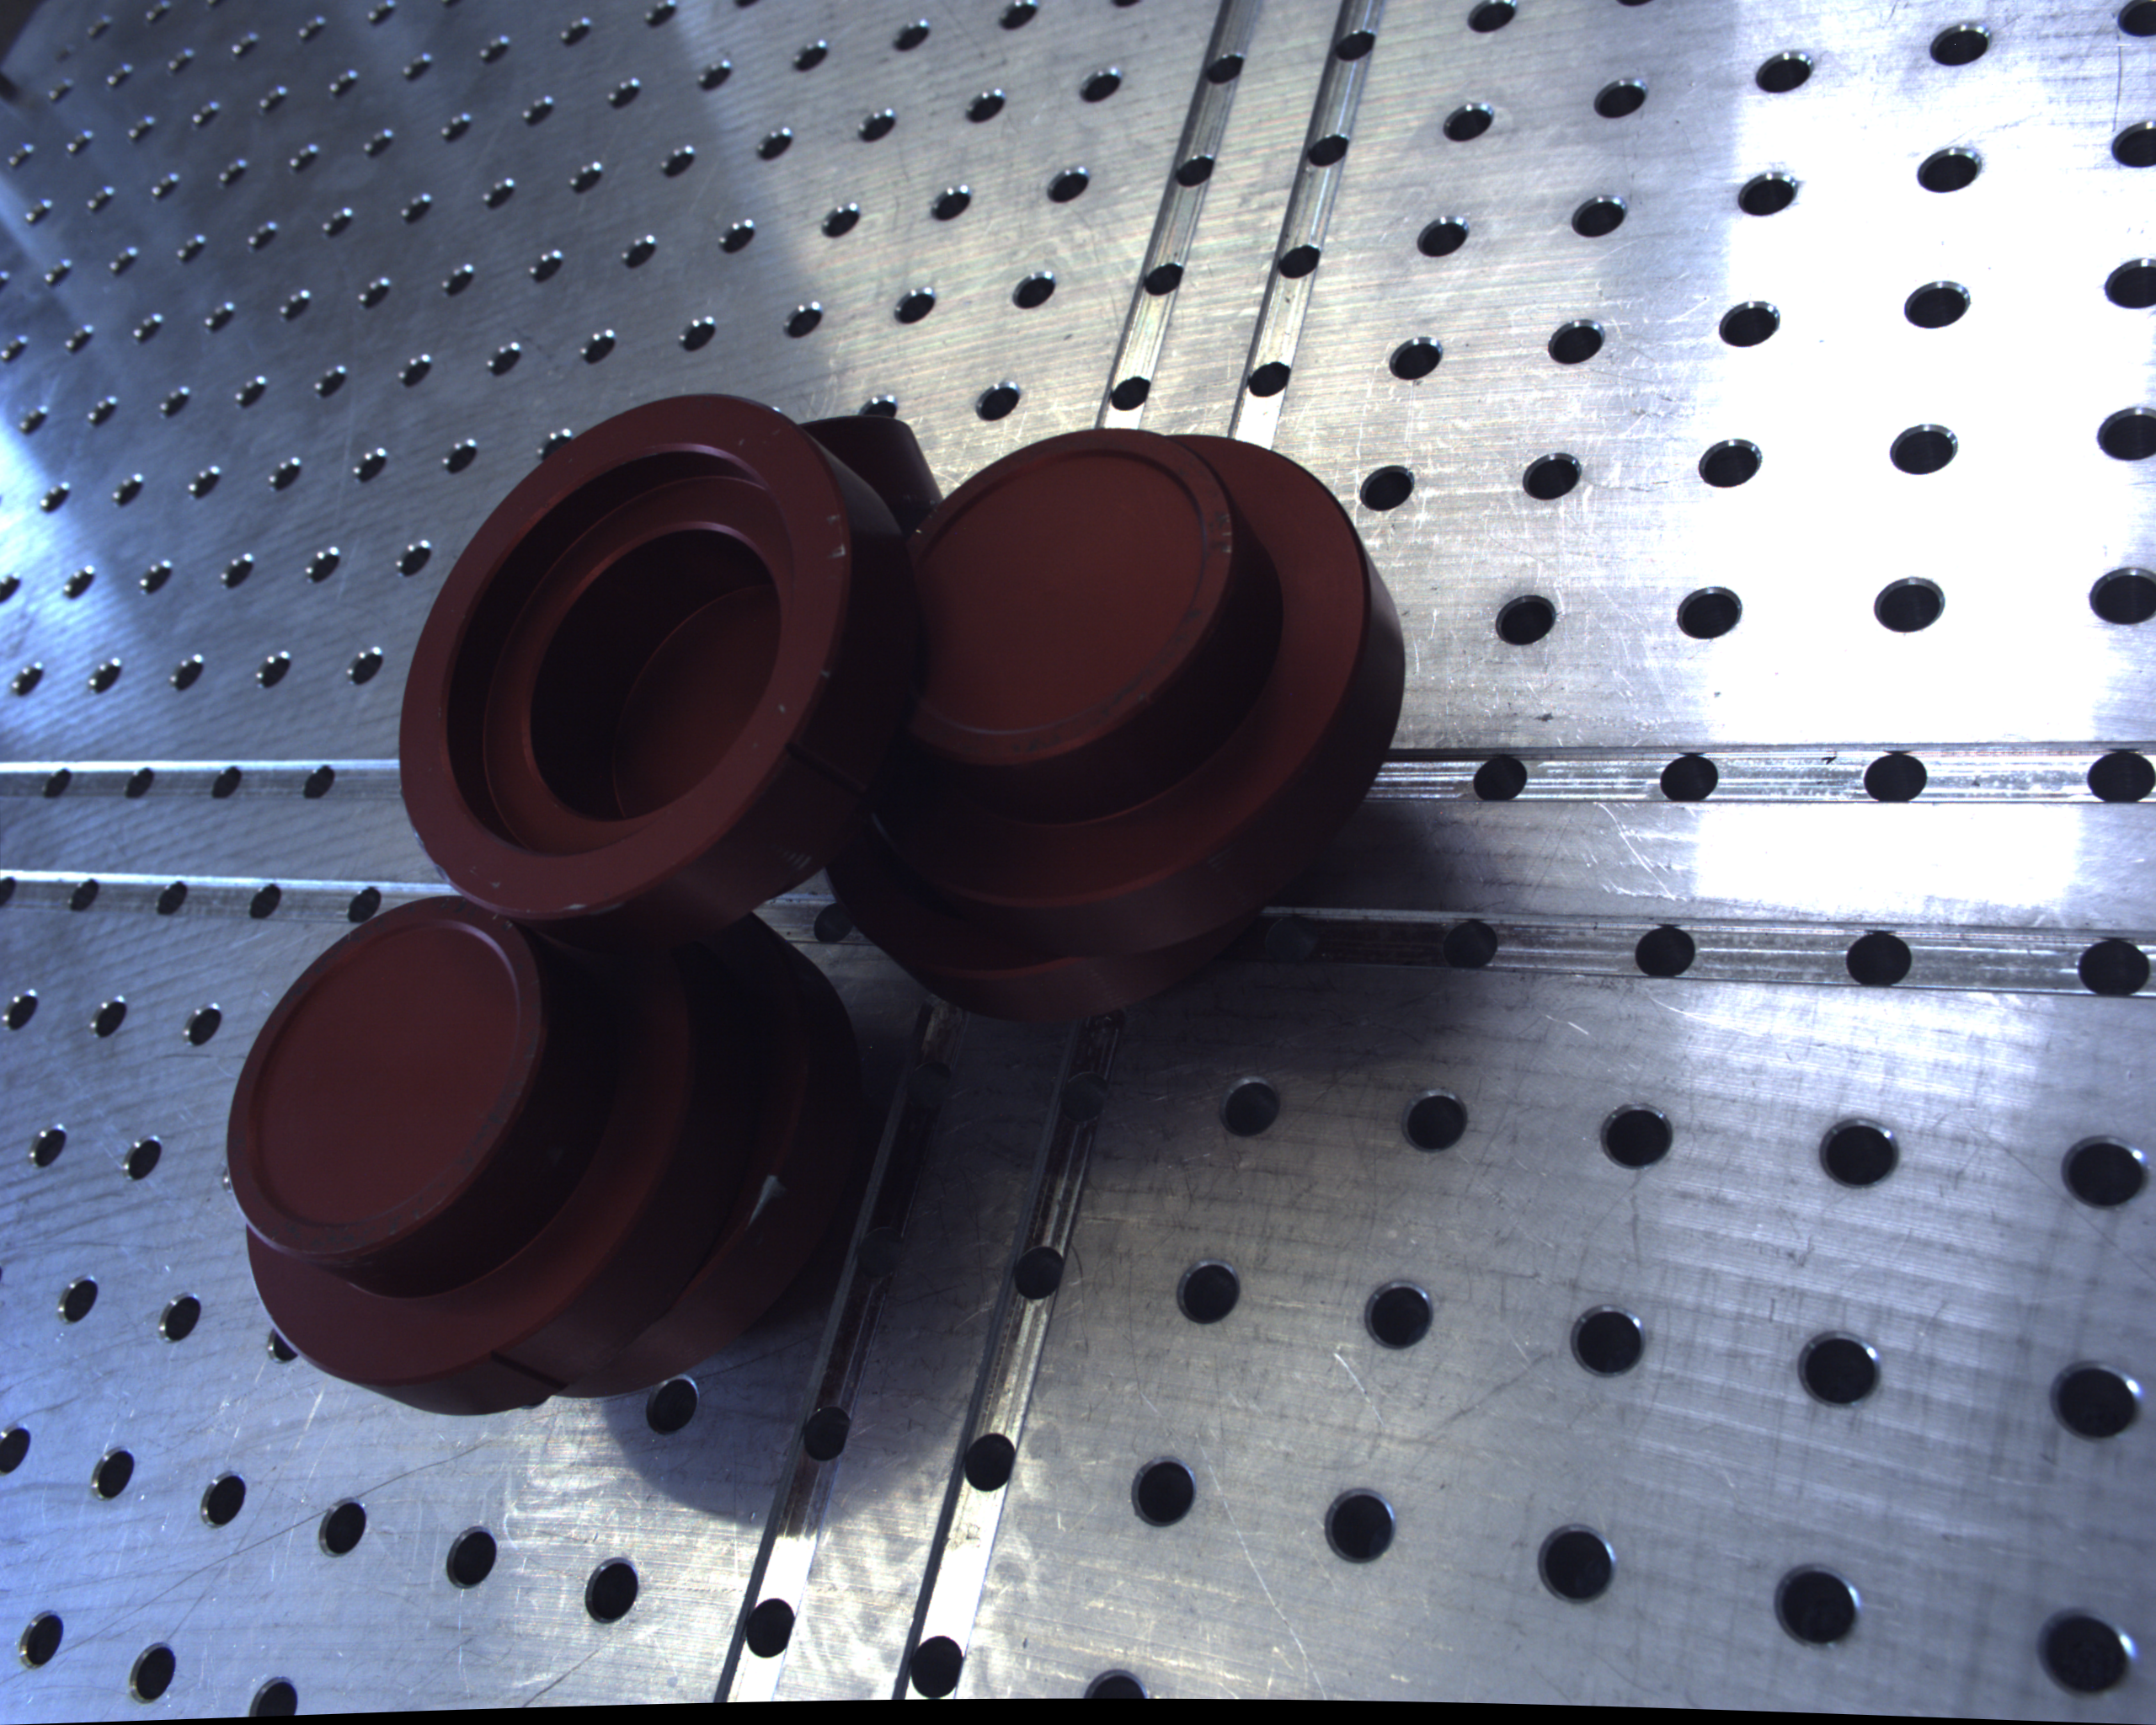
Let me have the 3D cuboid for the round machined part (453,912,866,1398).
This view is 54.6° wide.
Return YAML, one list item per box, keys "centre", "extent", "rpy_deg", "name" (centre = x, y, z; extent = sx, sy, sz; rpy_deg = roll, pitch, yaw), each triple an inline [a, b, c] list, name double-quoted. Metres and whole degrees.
- centre: [-0.093, 0.047, 0.392]
  extent: [0.098, 0.042, 0.098]
  rpy_deg: [-13, 56, 21]
  name: "round machined part"

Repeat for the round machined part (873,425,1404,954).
- centre: [0.003, -0.037, 0.364]
  extent: [0.098, 0.042, 0.098]
  rpy_deg: [-13, 55, 20]
  name: "round machined part"

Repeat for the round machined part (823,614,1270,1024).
- centre: [-0.007, -0.023, 0.389]
  extent: [0.098, 0.042, 0.098]
  rpy_deg: [-13, 56, 21]
  name: "round machined part"

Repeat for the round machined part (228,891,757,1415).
- centre: [-0.111, 0.045, 0.374]
  extent: [0.098, 0.042, 0.098]
  rpy_deg: [-13, 56, 21]
  name: "round machined part"

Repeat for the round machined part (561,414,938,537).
- centre: [-0.072, -0.054, 0.445]
  extent: [0.098, 0.098, 0.042]
  rpy_deg: [-25, 88, 13]
  name: "round machined part"

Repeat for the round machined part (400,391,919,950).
- centre: [-0.069, -0.031, 0.371]
  extent: [0.098, 0.042, 0.098]
  rpy_deg: [-12, 64, 27]
  name: "round machined part"
